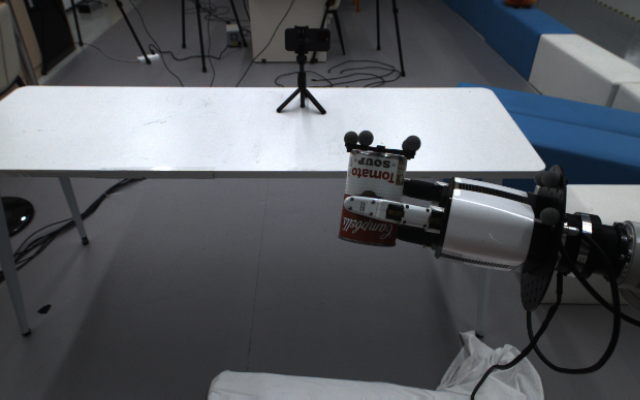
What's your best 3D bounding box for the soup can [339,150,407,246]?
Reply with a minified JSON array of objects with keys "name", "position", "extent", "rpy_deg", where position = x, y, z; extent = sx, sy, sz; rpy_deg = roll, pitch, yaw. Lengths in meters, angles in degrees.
[{"name":"soup can","position":[0.062,-0.004,0.559],"extent":[0.067,0.101,0.067],"rpy_deg":[7,4,0]}]
